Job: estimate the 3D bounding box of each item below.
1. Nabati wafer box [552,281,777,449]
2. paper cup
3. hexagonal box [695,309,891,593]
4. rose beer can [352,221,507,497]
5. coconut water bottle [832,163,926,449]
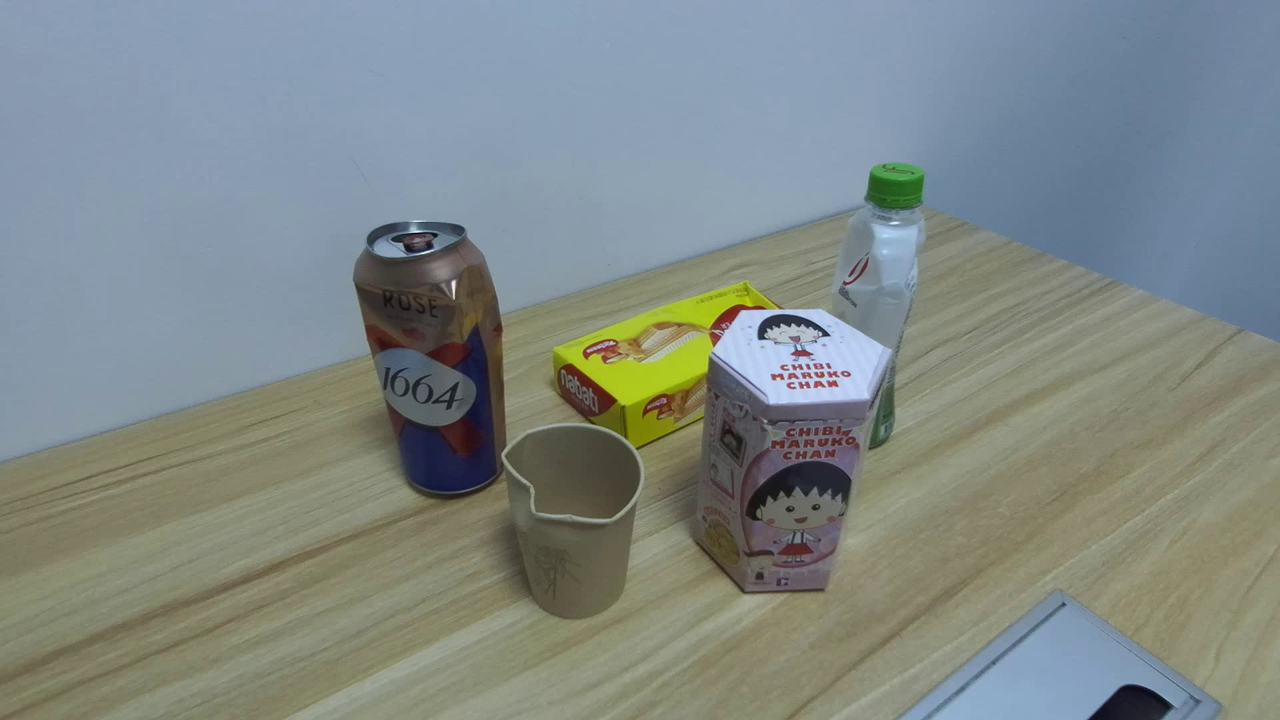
[{"bbox_3d":[0.043,-0.005,0.548,0.204,0.042,0.096,-21,37,-29],"label":"Nabati wafer box"},{"bbox_3d":[-0.034,0.087,0.374,0.073,0.081,0.069,3,34,3],"label":"paper cup"},{"bbox_3d":[0.078,0.051,0.379,0.091,0.136,0.083,-2,34,-3],"label":"hexagonal box"},{"bbox_3d":[-0.120,0.001,0.429,0.075,0.167,0.065,18,37,27],"label":"rose beer can"},{"bbox_3d":[0.150,-0.032,0.456,0.067,0.187,0.067,-1,34,1],"label":"coconut water bottle"}]
